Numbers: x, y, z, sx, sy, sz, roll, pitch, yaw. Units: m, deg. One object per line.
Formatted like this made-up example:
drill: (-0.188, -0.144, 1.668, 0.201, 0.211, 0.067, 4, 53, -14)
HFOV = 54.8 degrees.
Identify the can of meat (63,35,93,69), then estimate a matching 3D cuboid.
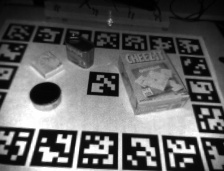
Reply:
can of meat: (-0.120, -0.117, 0.769, 0.101, 0.084, 0.058, 27, 52, 16)

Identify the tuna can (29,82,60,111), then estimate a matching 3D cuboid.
tuna can: (-0.203, 0.032, 0.655, 0.086, 0.034, 0.085, 3, 54, -3)

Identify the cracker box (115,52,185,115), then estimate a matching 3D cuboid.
cracker box: (0.119, -0.018, 0.725, 0.165, 0.072, 0.211, -8, 51, -15)

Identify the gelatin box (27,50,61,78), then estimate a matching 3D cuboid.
gelatin box: (-0.234, -0.077, 0.746, 0.088, 0.030, 0.074, 39, 54, 20)
